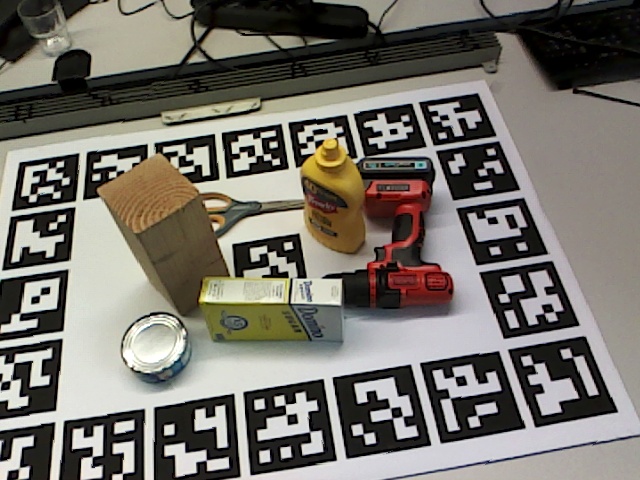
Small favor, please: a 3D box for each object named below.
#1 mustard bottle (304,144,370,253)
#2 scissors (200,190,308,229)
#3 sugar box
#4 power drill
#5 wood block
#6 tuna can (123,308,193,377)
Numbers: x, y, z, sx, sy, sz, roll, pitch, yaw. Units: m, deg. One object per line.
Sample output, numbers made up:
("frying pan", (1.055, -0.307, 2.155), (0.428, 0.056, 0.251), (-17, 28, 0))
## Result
("mustard bottle", (0.023, -0.062, 0.841), (0.097, 0.191, 0.058), (36, 67, 23))
("scissors", (-0.118, -0.049, 0.939), (0.203, 0.016, 0.088), (-7, 53, 0))
("sugar box", (-0.050, 0.090, 0.799), (0.176, 0.092, 0.045), (2, 54, 4))
("power drill", (0.080, 0.005, 0.862), (0.185, 0.057, 0.187), (2, 64, 7))
("wood block", (-0.189, -0.001, 0.812), (0.091, 0.205, 0.090), (-33, 62, -16))
("tuna can", (-0.211, 0.134, 0.812), (0.086, 0.033, 0.086), (-2, 57, 3))
